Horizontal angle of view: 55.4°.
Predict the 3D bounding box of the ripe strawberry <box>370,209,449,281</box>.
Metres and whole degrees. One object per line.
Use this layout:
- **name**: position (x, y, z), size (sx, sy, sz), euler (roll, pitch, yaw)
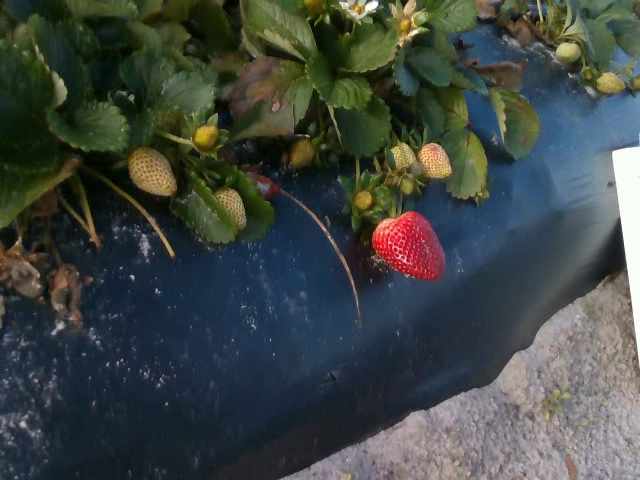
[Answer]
- **ripe strawberry**: position (0.076, 0.006, 0.487), size (0.052, 0.045, 0.068), euler (-15, 53, -35)
